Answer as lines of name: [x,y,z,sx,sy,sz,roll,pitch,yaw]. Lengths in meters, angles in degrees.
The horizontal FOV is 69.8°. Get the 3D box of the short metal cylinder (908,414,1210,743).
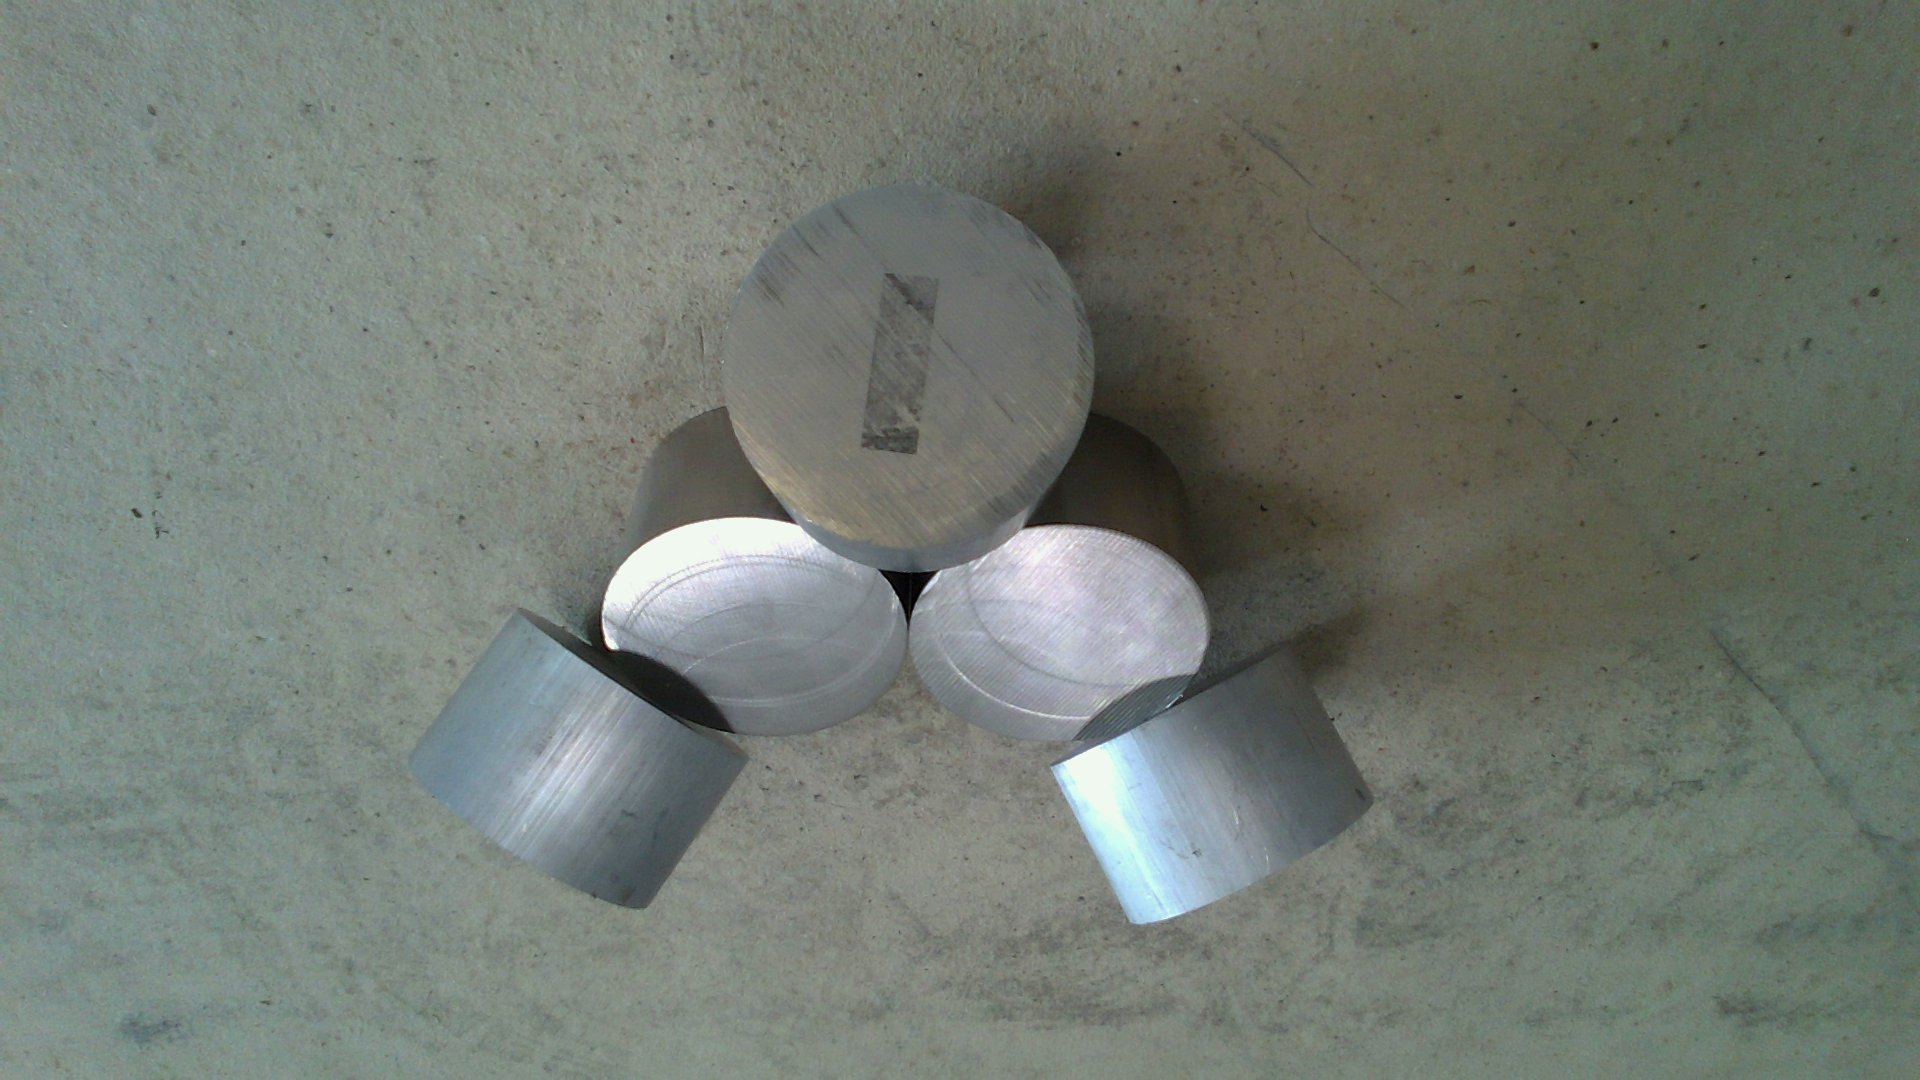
short metal cylinder: [0.026,0.011,0.383,0.080,0.050,0.080,0,130,0]

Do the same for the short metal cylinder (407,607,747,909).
short metal cylinder: [-0.109,0.062,0.399,0.080,0.080,0.050,39,80,-28]

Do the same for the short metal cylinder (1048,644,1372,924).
short metal cylinder: [0.073,0.071,0.407,0.080,0.080,0.050,-30,82,23]

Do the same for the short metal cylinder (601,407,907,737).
short metal cylinder: [-0.054,0.009,0.381,0.080,0.050,0.080,0,130,0]

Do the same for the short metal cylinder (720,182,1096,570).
short metal cylinder: [-0.011,-0.035,0.317,0.080,0.080,0.050,1,173,-1]
